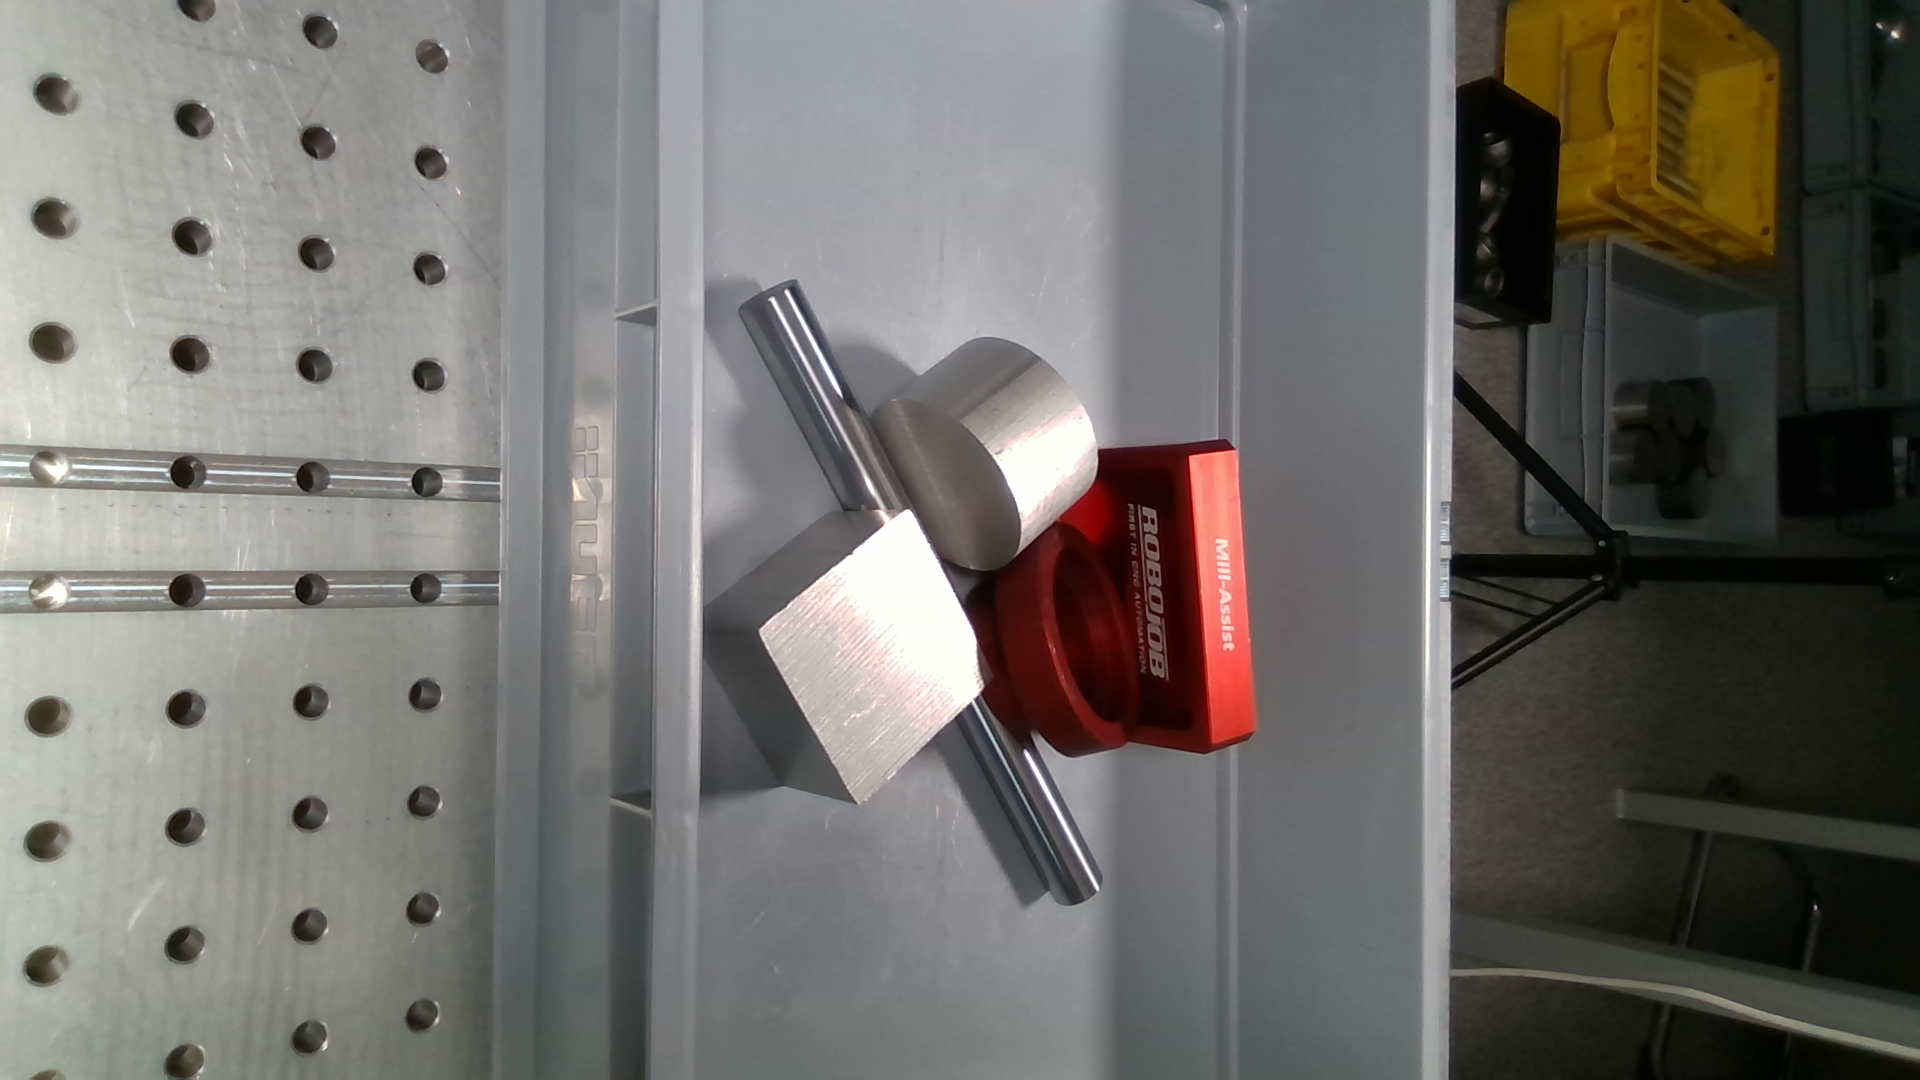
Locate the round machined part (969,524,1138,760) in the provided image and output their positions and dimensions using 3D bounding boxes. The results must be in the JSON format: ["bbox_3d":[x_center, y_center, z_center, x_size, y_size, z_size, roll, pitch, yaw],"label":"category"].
[{"bbox_3d":[0.038,0.045,0.584,0.098,0.042,0.098,45,37,-48],"label":"round machined part"}]

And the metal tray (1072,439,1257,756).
[{"bbox_3d":[0.082,0.024,0.607,0.030,0.090,0.130,-9,96,-40],"label":"metal tray"}]

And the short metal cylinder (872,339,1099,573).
[{"bbox_3d":[0.008,-0.034,0.553,0.050,0.080,0.080,-41,115,-33],"label":"short metal cylinder"}]

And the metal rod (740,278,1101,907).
[{"bbox_3d":[-0.010,0.033,0.573,0.025,0.025,0.301,-41,115,-33],"label":"metal rod"}]

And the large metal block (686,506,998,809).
[{"bbox_3d":[-0.043,0.043,0.527,0.080,0.050,0.080,-40,115,-33],"label":"large metal block"}]
